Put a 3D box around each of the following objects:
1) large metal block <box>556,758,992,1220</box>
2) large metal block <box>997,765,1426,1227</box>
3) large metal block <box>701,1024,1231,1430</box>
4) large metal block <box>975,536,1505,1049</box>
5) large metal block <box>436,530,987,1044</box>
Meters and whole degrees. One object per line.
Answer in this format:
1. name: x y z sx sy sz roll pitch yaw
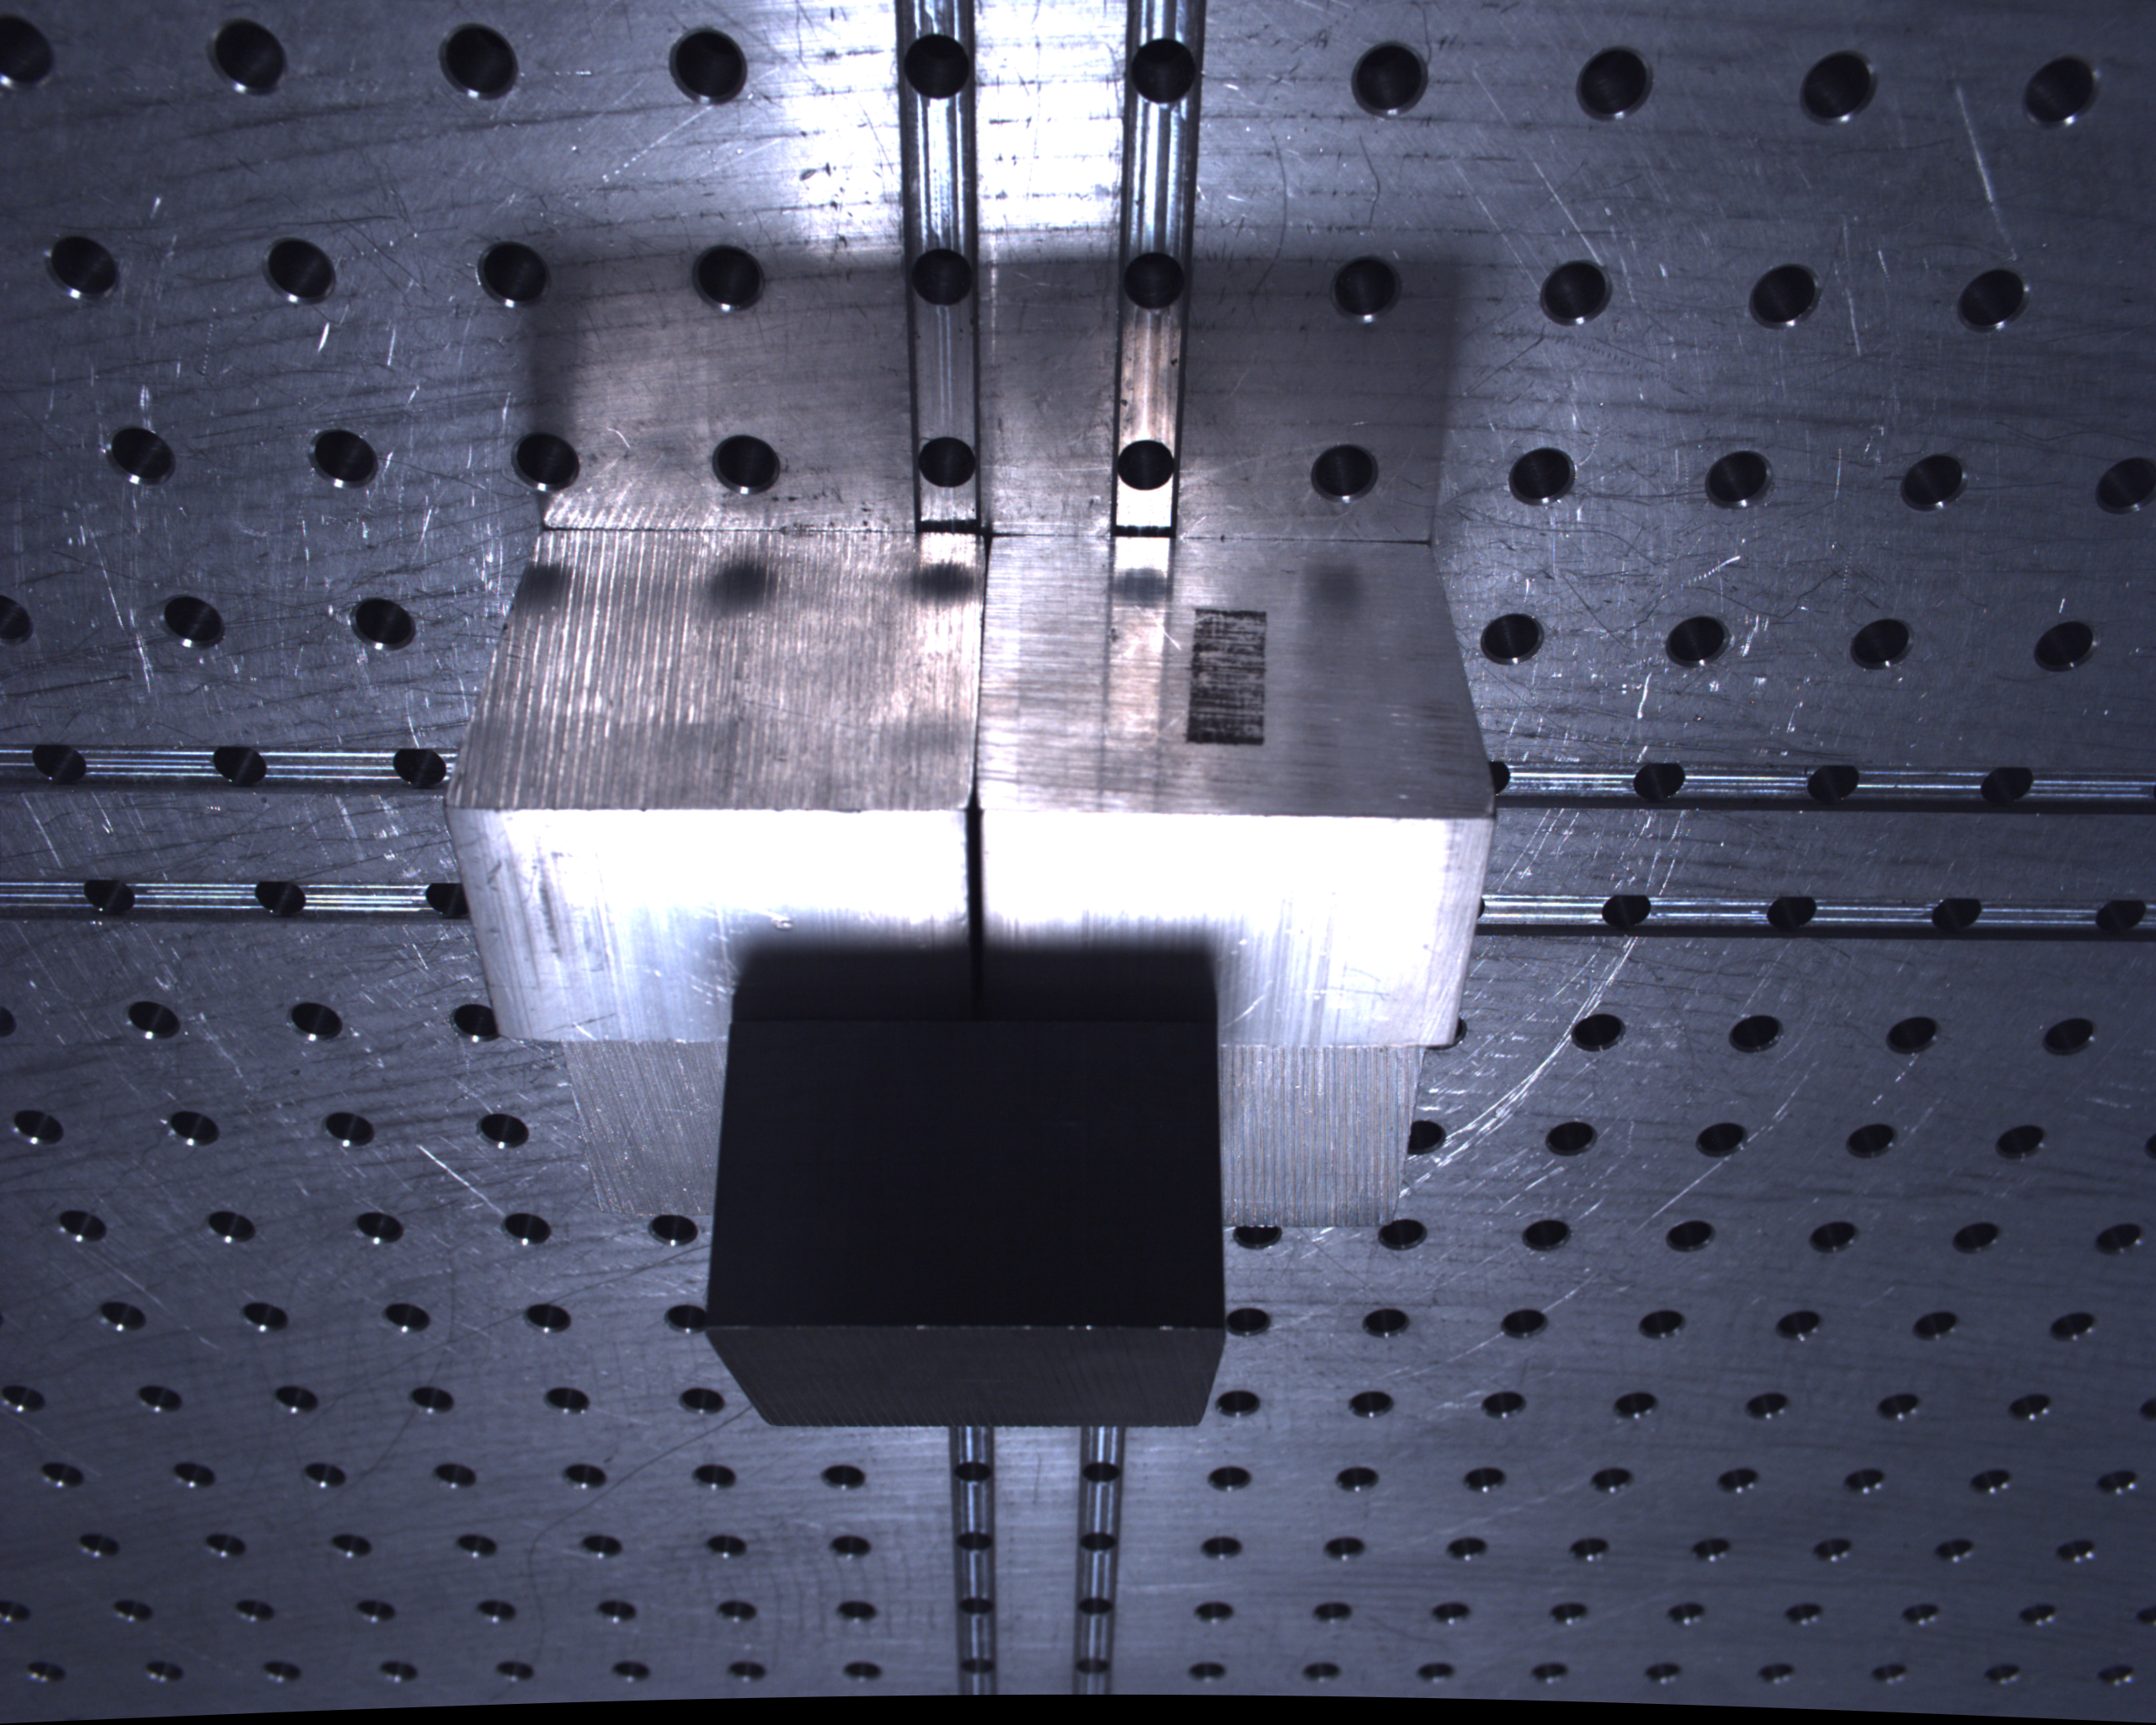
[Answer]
1. large metal block: -0.057 0.026 0.414 0.081 0.050 0.079 1 130 -1
2. large metal block: 0.024 0.027 0.416 0.081 0.050 0.079 1 130 -1
3. large metal block: -0.017 0.066 0.363 0.081 0.050 0.080 0 154 -1
4. large metal block: 0.024 -0.014 0.363 0.081 0.080 0.050 1 130 -1
5. large metal block: -0.057 -0.015 0.361 0.081 0.080 0.050 1 130 -1
